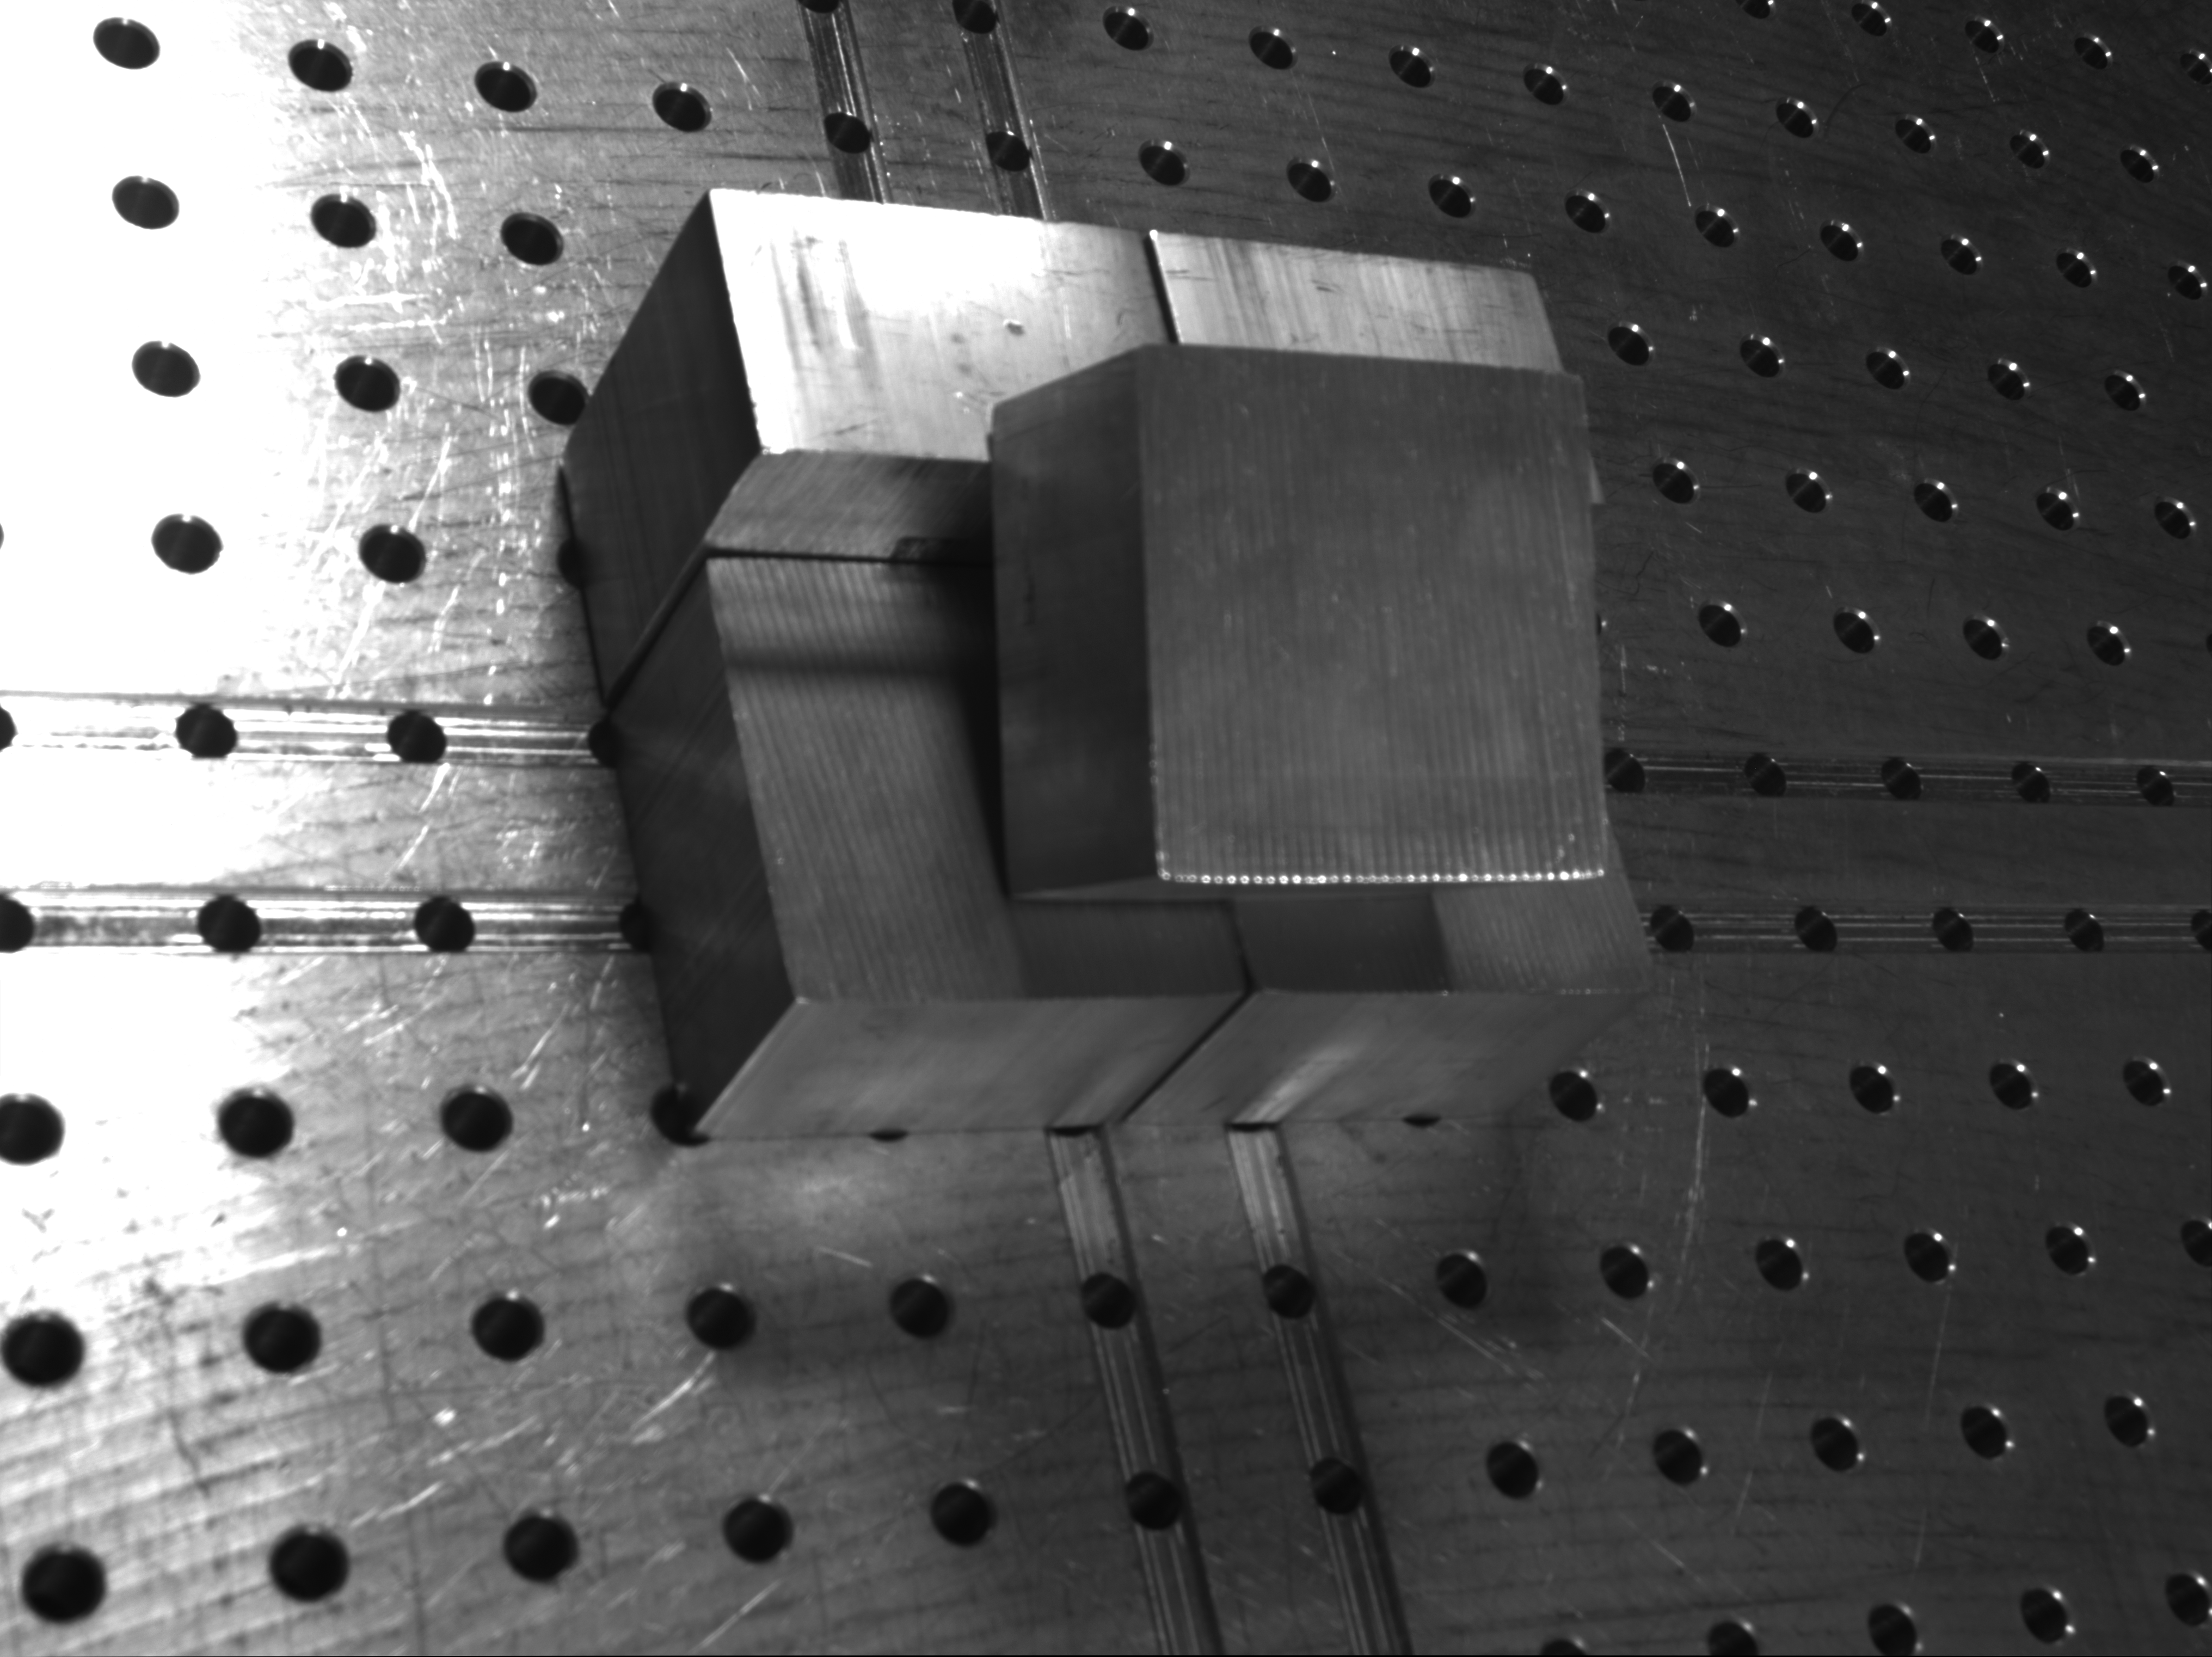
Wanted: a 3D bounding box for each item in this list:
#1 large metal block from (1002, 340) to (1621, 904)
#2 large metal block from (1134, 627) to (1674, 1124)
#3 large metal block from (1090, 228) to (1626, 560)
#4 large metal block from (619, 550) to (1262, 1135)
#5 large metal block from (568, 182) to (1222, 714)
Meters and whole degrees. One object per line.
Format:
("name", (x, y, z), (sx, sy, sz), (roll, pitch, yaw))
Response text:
("large metal block", (0.032, -0.030, 0.576), (0.080, 0.050, 0.080), (0, 85, -28))
("large metal block", (0.043, 0.004, 0.644), (0.080, 0.050, 0.080), (1, 61, -28))
("large metal block", (0.033, -0.060, 0.661), (0.080, 0.080, 0.050), (1, 61, -28))
("large metal block", (-0.029, 0.003, 0.607), (0.080, 0.050, 0.080), (1, 61, -28))
("large metal block", (-0.038, -0.062, 0.624), (0.080, 0.080, 0.050), (1, 61, -28))
